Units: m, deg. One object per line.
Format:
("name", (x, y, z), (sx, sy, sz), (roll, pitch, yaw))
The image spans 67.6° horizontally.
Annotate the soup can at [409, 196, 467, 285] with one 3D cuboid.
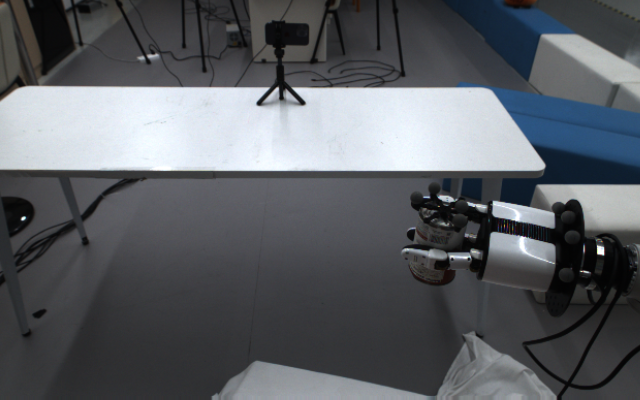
("soup can", (0.167, 0.060, 0.682), (0.067, 0.101, 0.067), (2, 32, -1))
